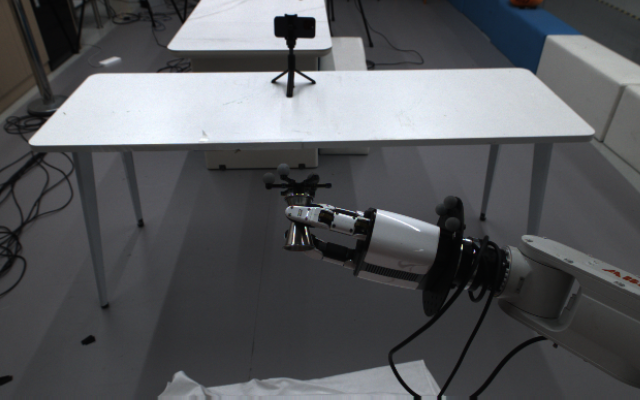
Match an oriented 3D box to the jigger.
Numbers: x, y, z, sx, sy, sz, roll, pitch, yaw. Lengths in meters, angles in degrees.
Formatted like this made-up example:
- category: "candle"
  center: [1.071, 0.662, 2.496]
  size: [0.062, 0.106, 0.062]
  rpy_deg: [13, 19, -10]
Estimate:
- category: "jigger"
  center: [-0.027, 0.029, 0.632]
  size: [0.043, 0.043, 0.071]
  rpy_deg: [0, 75, -3]
